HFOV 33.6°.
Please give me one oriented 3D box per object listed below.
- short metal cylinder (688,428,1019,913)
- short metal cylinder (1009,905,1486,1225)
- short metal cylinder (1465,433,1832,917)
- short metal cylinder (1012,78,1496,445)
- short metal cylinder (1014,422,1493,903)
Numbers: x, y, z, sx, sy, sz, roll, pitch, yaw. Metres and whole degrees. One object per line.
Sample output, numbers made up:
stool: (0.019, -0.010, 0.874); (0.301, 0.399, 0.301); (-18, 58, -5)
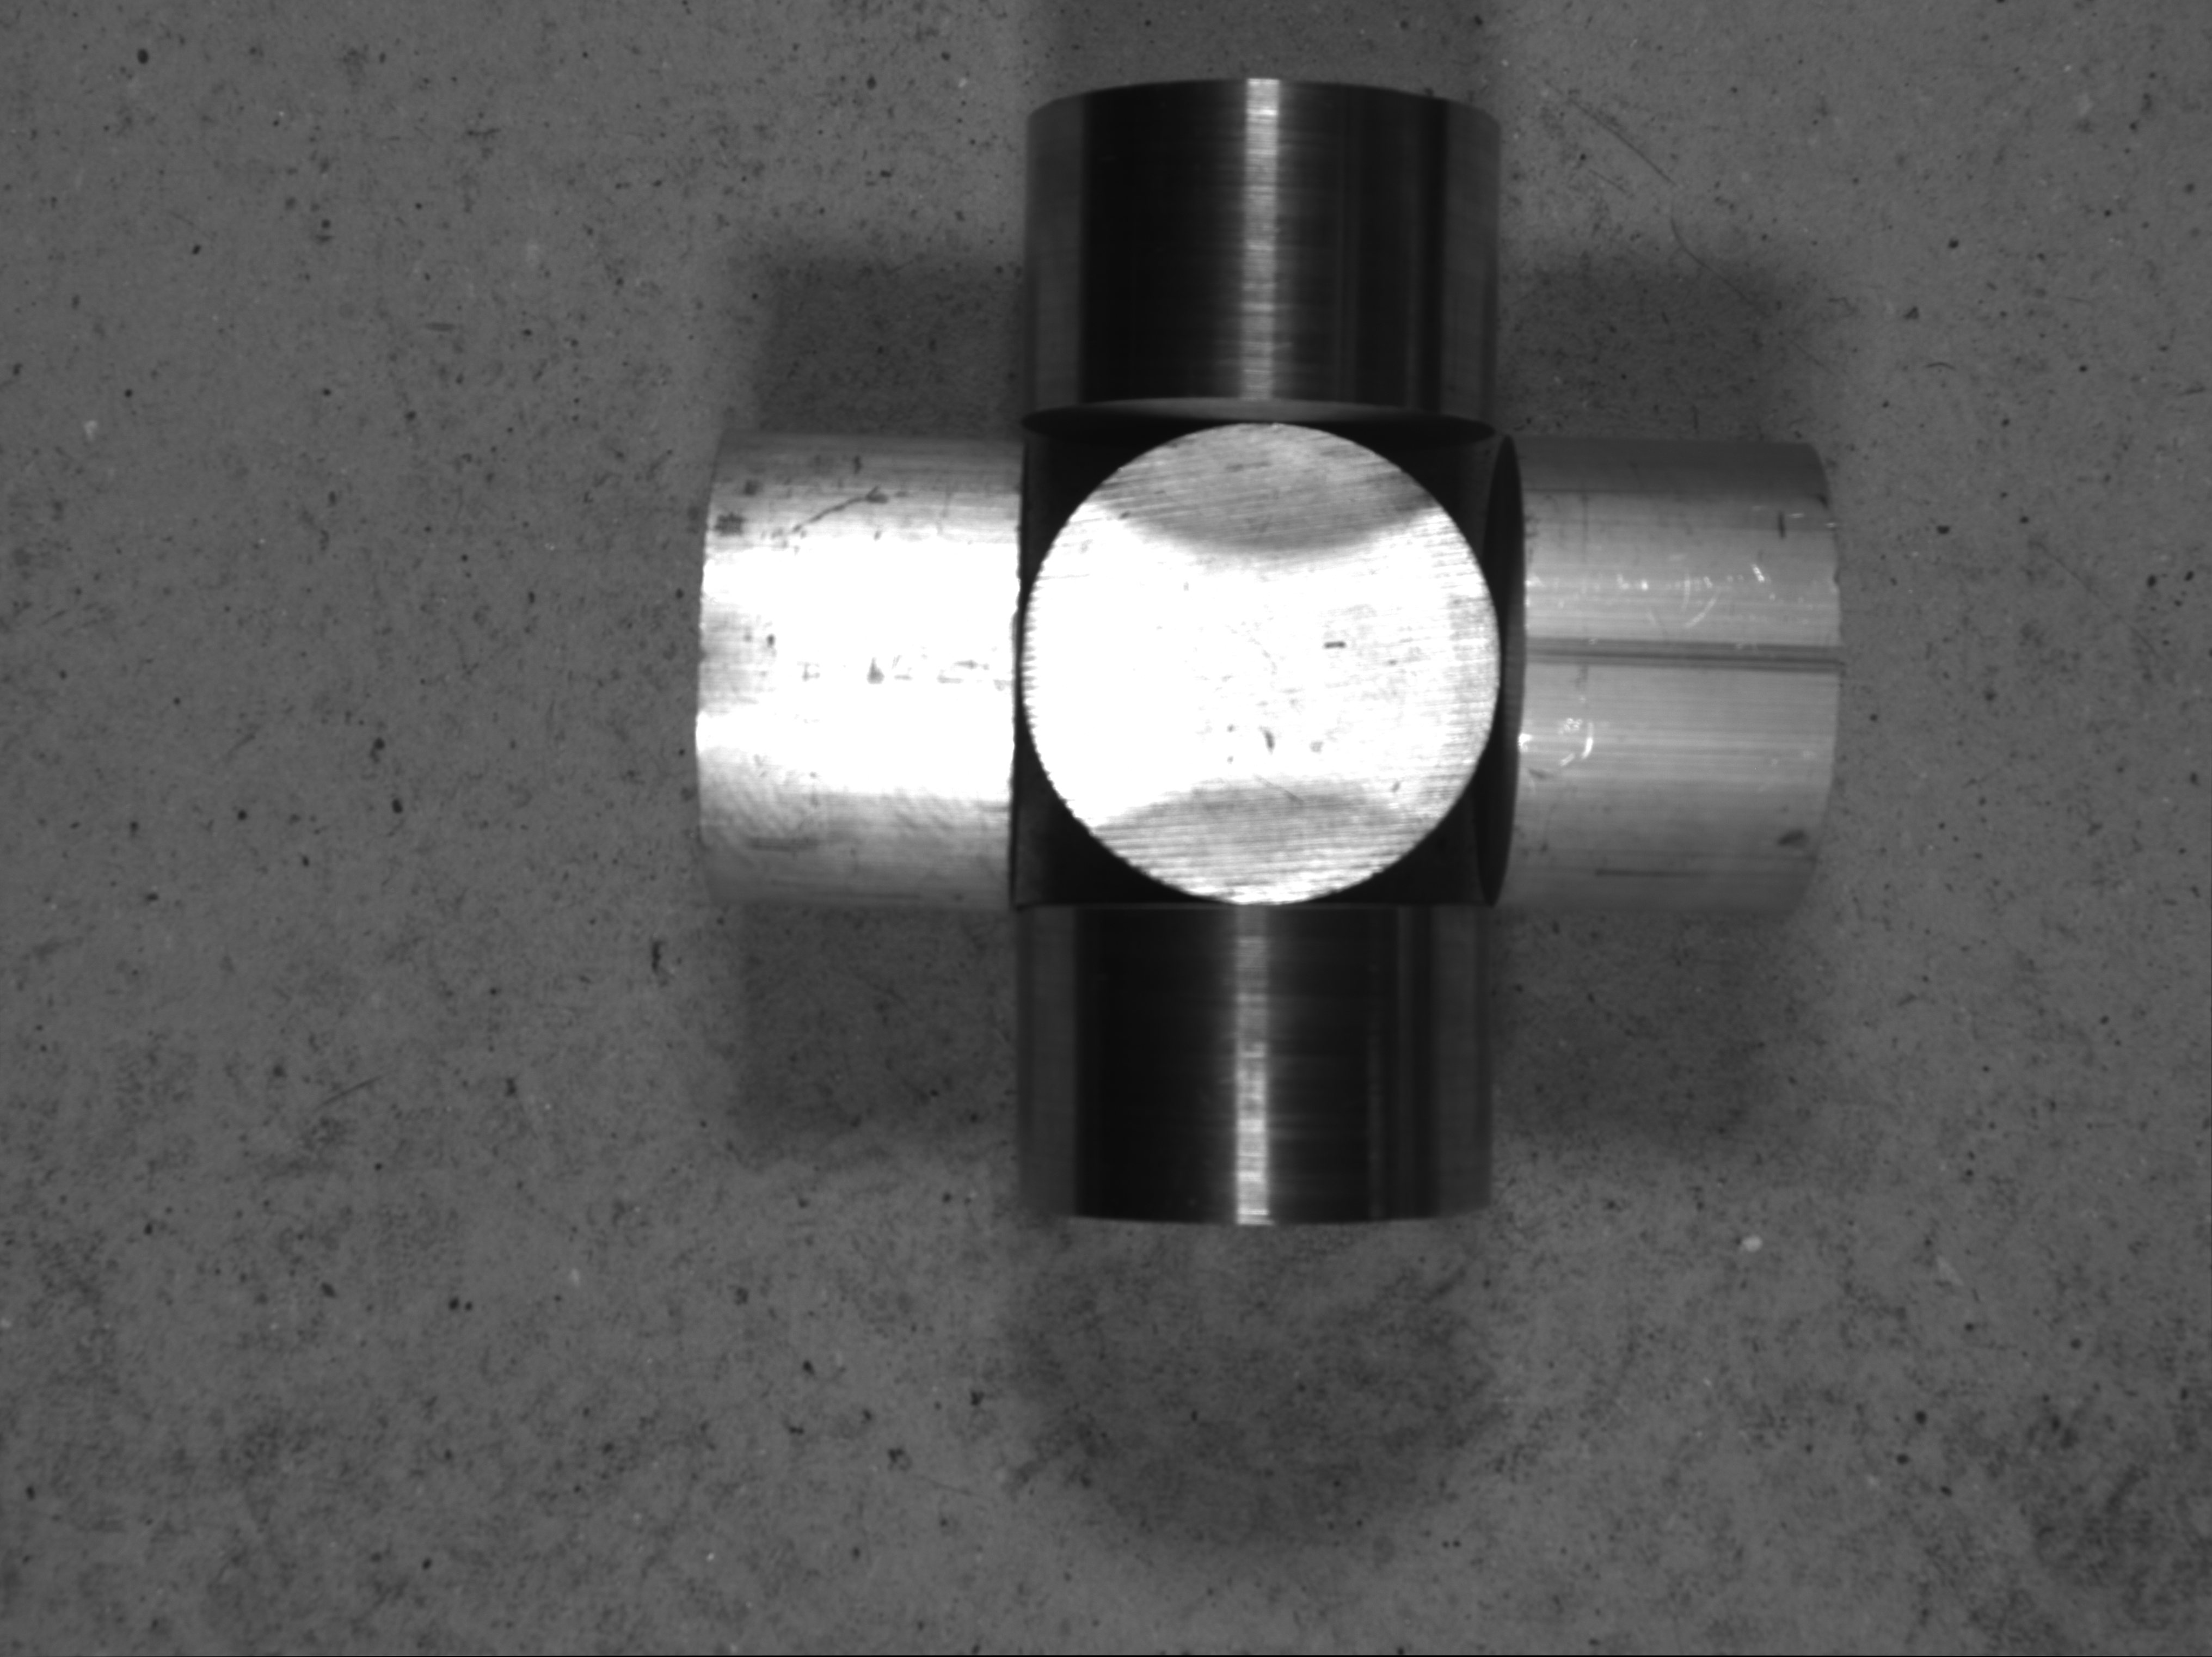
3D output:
short metal cylinder: (-0.041, -0.027, 0.618); (0.050, 0.080, 0.080); (2, 90, 0)
short metal cylinder: (0.024, 0.038, 0.618); (0.080, 0.080, 0.050); (0, 89, 0)
short metal cylinder: (0.090, -0.026, 0.619); (0.050, 0.080, 0.080); (2, 90, 0)
short metal cylinder: (0.025, -0.093, 0.617); (0.080, 0.080, 0.050); (2, 90, 0)
short metal cylinder: (0.024, -0.027, 0.633); (0.080, 0.050, 0.080); (0, 90, 0)
